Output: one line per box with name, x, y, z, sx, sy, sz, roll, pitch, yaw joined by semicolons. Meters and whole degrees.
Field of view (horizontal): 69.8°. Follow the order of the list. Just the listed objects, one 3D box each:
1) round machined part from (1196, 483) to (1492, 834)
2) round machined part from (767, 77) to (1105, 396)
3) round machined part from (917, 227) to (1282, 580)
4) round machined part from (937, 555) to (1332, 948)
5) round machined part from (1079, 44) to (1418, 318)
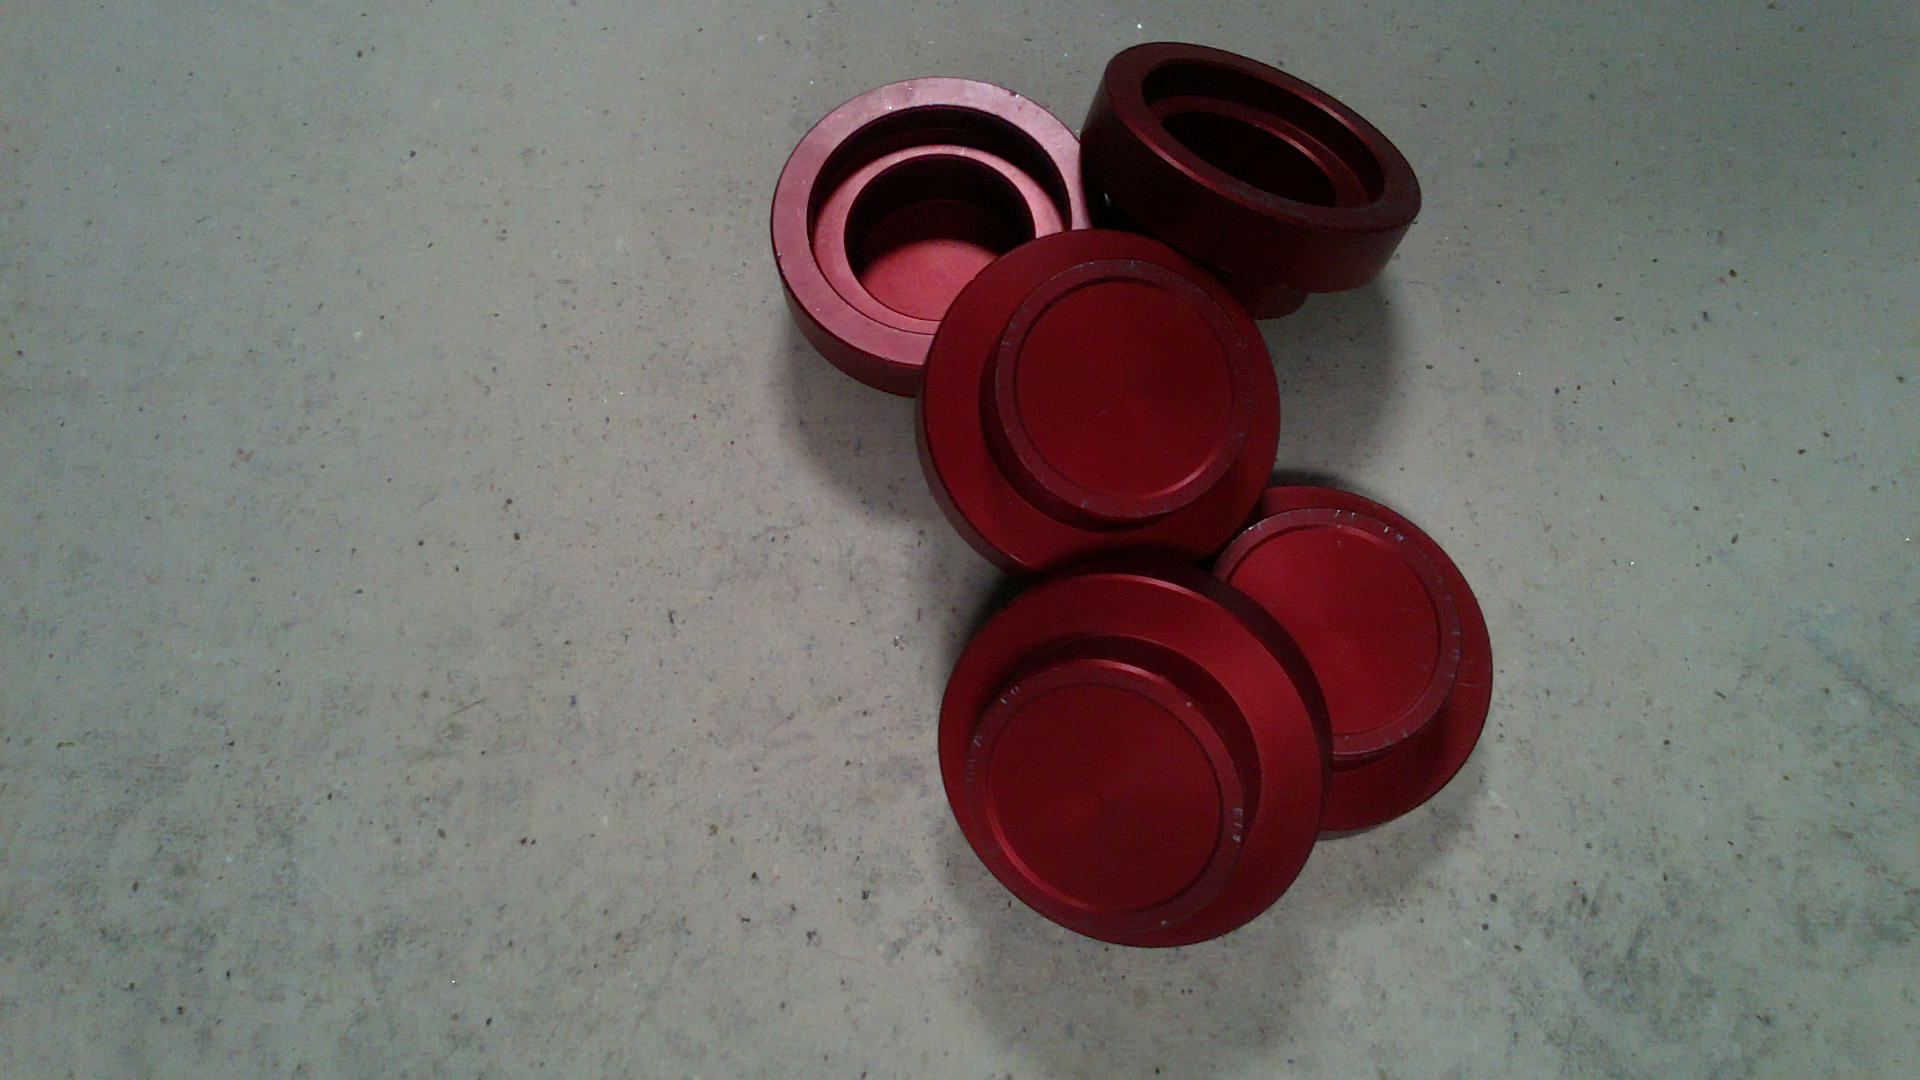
round machined part;0.096;0.029;0.375;0.098;0.042;0.098;0;70;0
round machined part;-0.007;-0.087;0.417;0.098;0.042;0.098;0;70;0
round machined part;0.039;-0.037;0.364;0.098;0.042;0.098;1;80;-8
round machined part;0.040;0.056;0.338;0.098;0.042;0.098;5;104;19
round machined part;0.081;-0.103;0.409;0.098;0.042;0.098;13;42;-12
